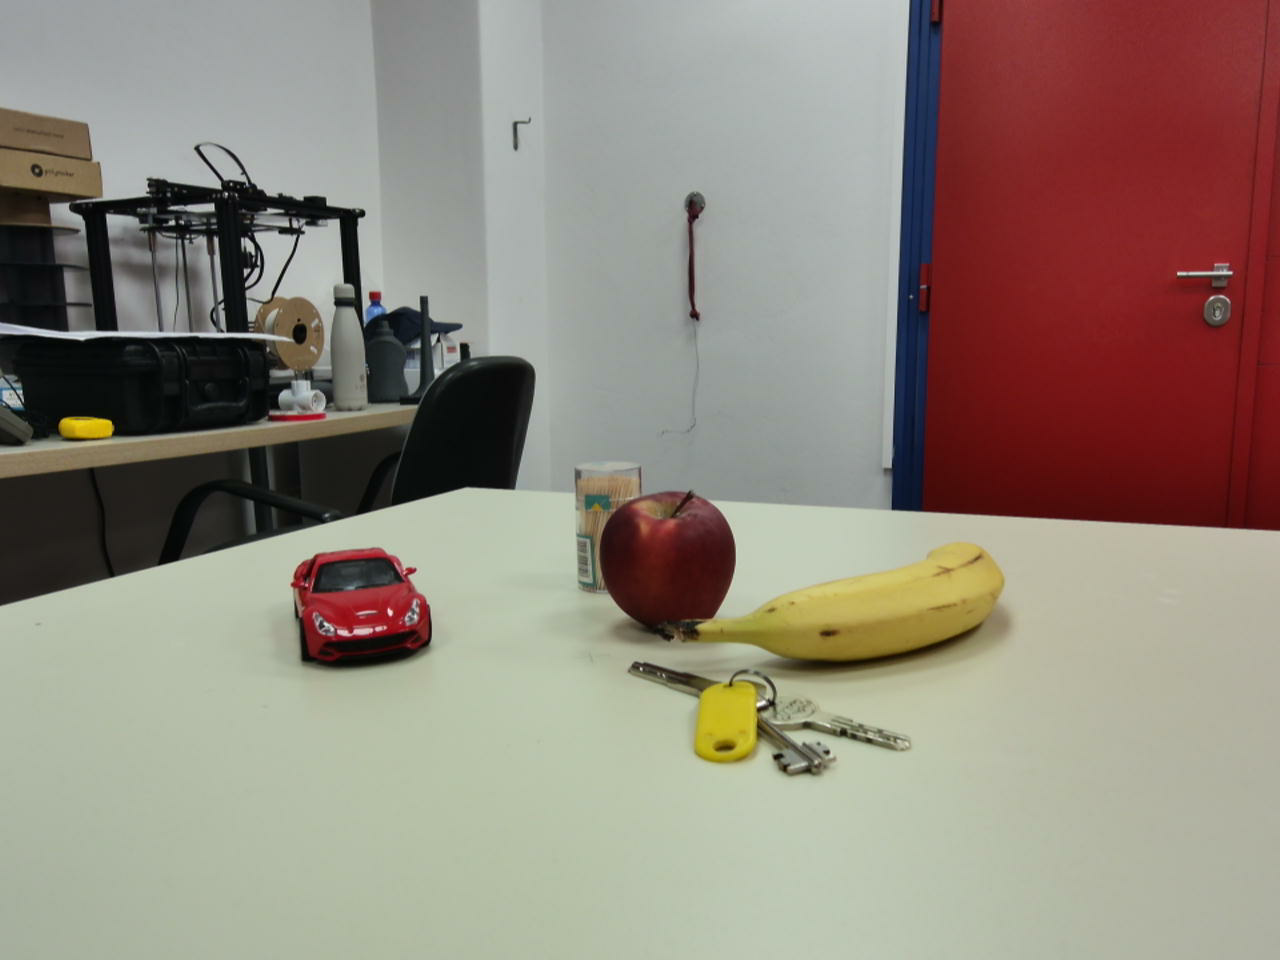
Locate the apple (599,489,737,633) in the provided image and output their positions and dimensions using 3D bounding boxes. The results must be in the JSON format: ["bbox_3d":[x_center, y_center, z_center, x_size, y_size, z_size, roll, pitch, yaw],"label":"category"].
[{"bbox_3d":[0.015,0.040,0.509,0.070,0.072,0.070,0,6,0],"label":"apple"}]
